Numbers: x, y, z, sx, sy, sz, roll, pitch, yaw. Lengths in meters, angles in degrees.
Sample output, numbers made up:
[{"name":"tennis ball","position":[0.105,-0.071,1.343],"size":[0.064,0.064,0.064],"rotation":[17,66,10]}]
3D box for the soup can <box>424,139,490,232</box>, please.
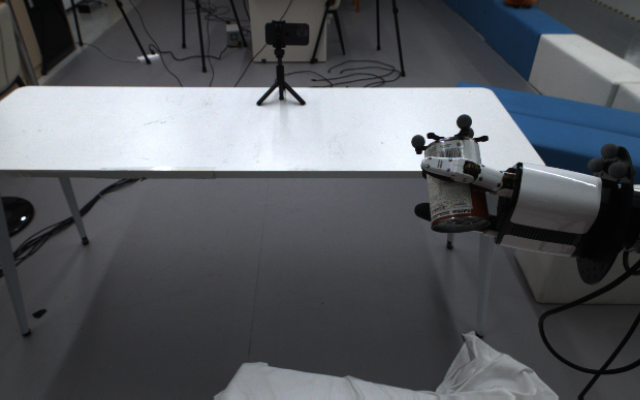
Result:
[{"name":"soup can","position":[0.164,-0.020,0.587],"size":[0.067,0.067,0.101],"rotation":[0,72,-4]}]
